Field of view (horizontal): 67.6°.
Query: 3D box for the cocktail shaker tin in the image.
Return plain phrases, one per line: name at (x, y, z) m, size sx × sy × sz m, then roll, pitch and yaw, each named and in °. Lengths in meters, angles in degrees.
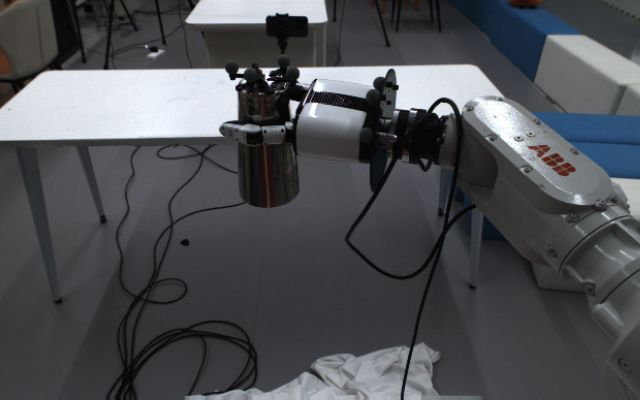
cocktail shaker tin at (-0.072, -0.087, 0.680) m, size 0.093 × 0.170 × 0.093 m, roll 1°, pitch 39°, yaw -1°
